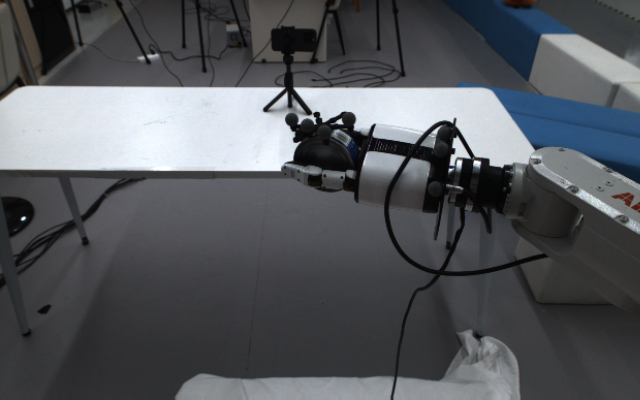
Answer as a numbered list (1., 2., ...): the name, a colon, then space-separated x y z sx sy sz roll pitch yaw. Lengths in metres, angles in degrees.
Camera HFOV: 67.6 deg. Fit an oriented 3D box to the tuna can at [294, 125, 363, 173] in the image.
1. tuna can: 0.012 -0.056 0.648 0.085 0.085 0.034 14 40 16
